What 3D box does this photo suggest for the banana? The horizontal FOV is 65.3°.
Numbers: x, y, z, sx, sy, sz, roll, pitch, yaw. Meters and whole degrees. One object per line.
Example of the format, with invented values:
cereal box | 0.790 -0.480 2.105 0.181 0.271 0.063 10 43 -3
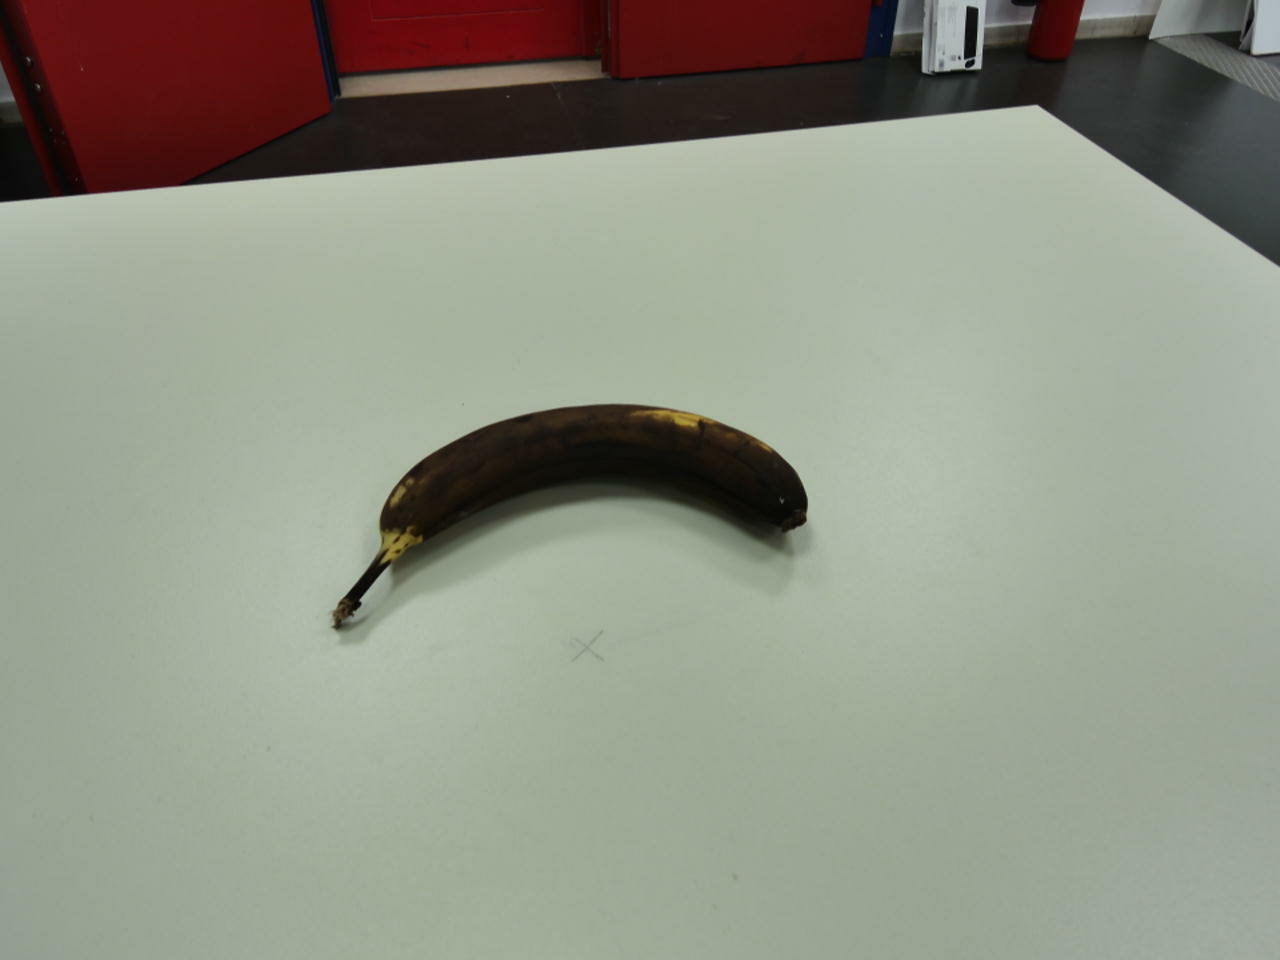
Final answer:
banana | -0.031 0.001 0.412 0.188 0.034 0.091 -8 39 -10
